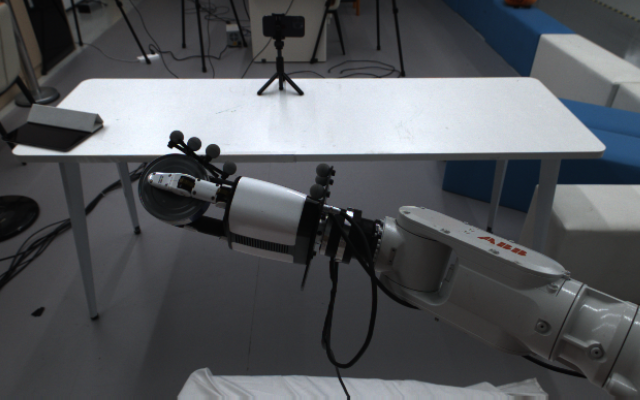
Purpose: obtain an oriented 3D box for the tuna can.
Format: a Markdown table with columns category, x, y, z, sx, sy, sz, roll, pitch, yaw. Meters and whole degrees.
| category | x | y | z | sx | sy | sz | roll | pitch | yaw |
| --- | --- | --- | --- | --- | --- | --- | --- | --- | --- |
| tuna can | -0.178 | -0.011 | 0.605 | 0.085 | 0.034 | 0.085 | 1 | 75 | -4 |
